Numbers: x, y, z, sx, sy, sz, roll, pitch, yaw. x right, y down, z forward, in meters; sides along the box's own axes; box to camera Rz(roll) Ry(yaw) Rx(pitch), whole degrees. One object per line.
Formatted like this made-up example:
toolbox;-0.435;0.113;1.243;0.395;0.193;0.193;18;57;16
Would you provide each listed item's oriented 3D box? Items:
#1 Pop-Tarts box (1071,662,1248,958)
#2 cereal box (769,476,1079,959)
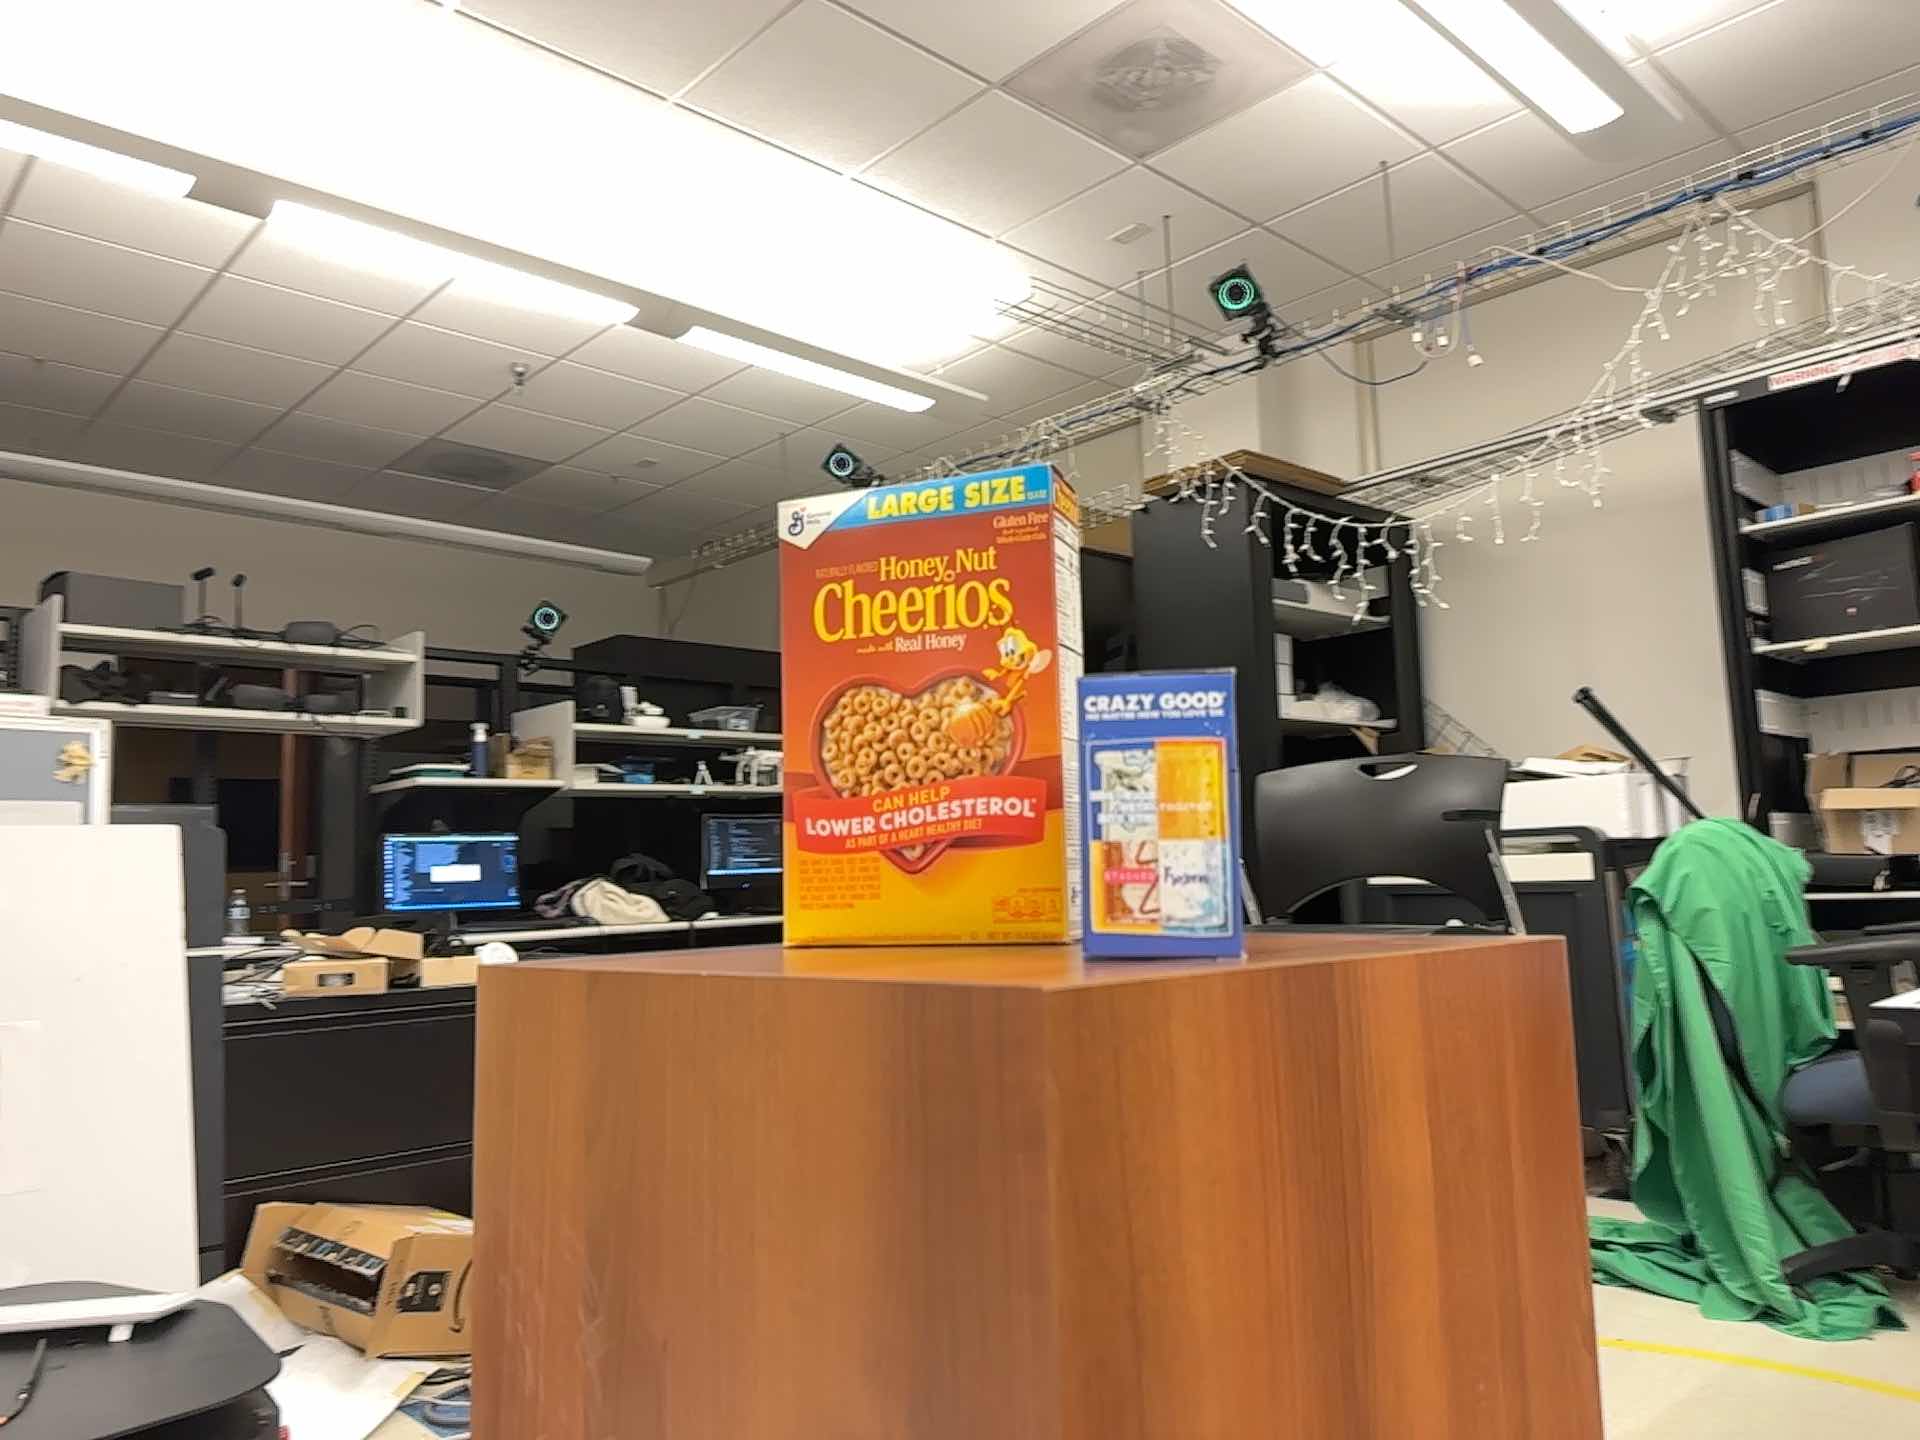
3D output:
Pop-Tarts box;0.105;0.054;0.718;0.075;0.135;0.161;-1;-8;8
cereal box;-0.024;0.002;0.900;0.195;0.297;0.065;-4;-9;17
